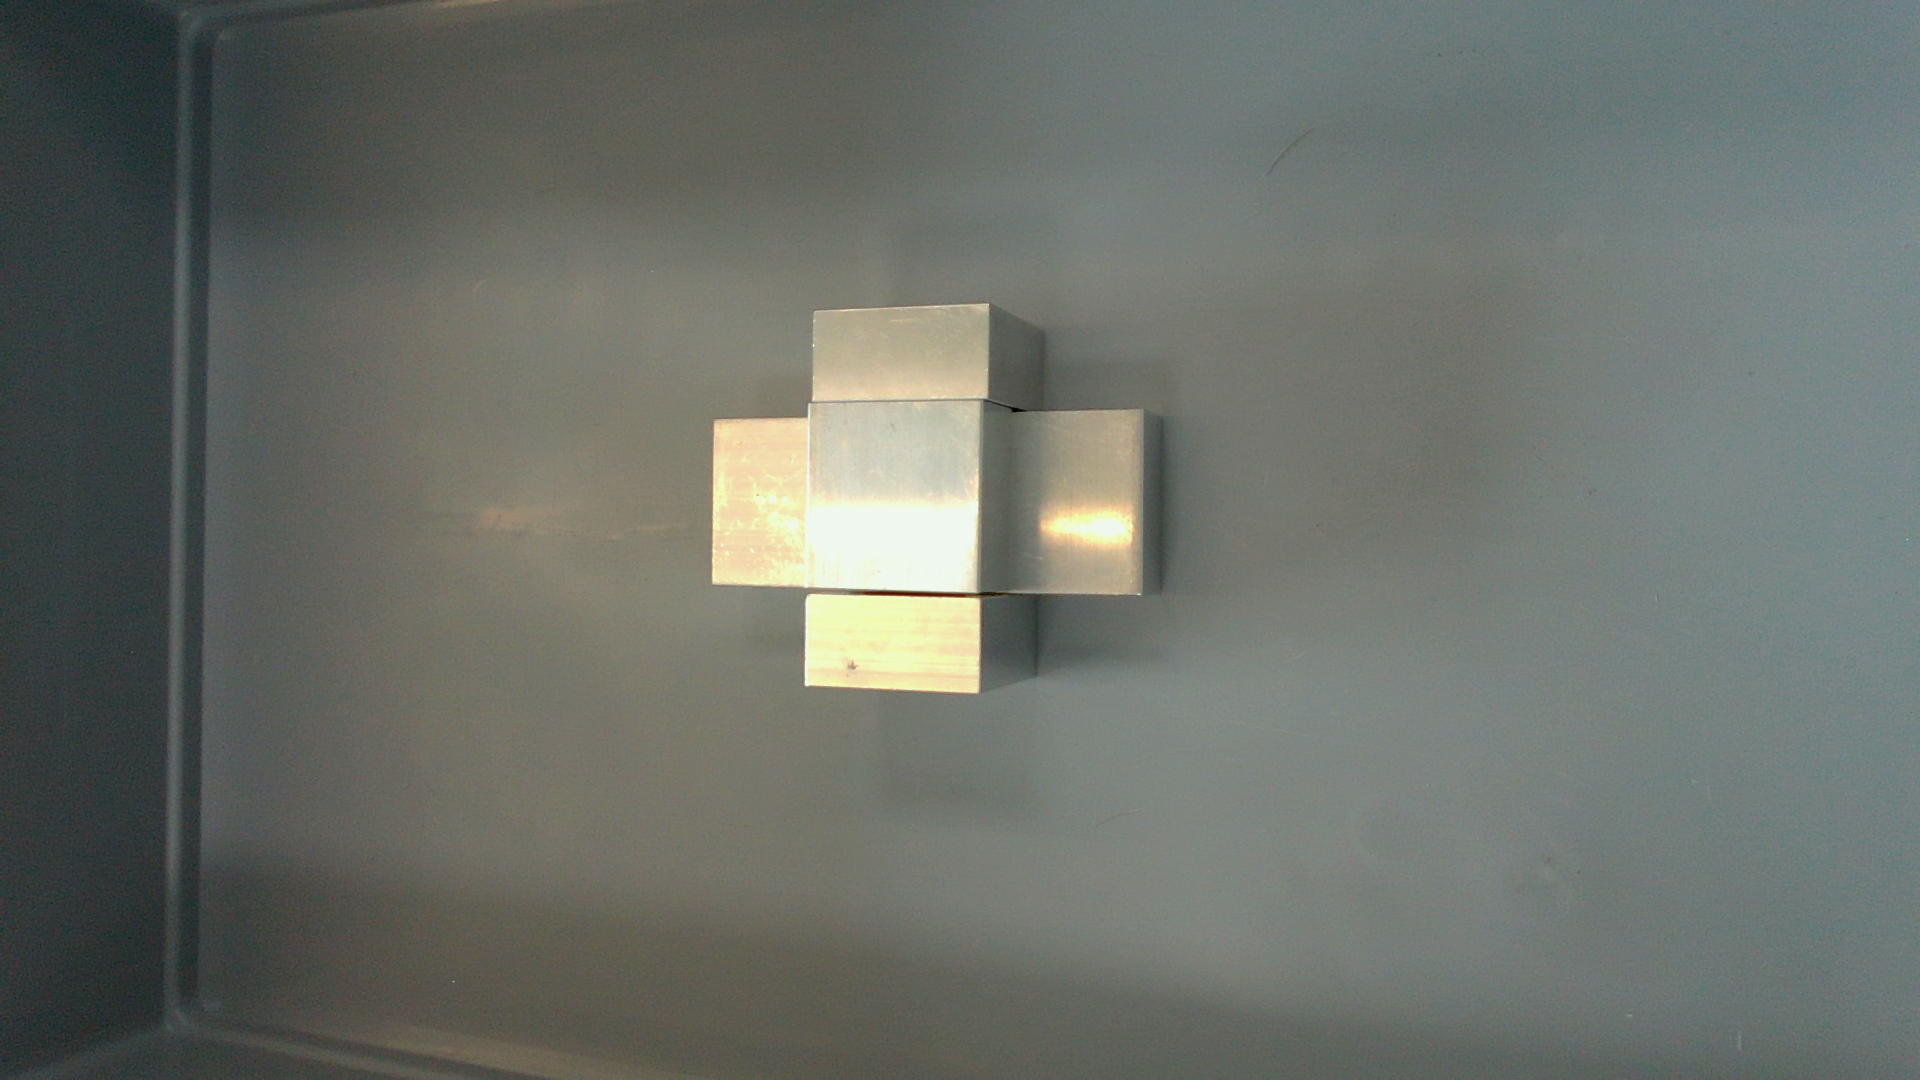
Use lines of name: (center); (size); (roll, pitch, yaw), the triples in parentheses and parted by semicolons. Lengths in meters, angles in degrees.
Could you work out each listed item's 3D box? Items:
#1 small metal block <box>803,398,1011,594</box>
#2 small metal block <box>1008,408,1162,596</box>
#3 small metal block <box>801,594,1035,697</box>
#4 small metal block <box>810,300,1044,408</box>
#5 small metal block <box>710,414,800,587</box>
small metal block: (-0.014, -0.012, 0.372); (0.050, 0.025, 0.050); (1, 90, 20)
small metal block: (0.029, -0.010, 0.384); (0.050, 0.025, 0.050); (1, 90, 20)
small metal block: (-0.010, 0.027, 0.383); (0.050, 0.050, 0.025); (1, 90, 20)
small metal block: (-0.008, -0.049, 0.383); (0.050, 0.050, 0.025); (1, 90, 20)
small metal block: (-0.046, -0.012, 0.411); (0.050, 0.025, 0.050); (1, 90, 20)
